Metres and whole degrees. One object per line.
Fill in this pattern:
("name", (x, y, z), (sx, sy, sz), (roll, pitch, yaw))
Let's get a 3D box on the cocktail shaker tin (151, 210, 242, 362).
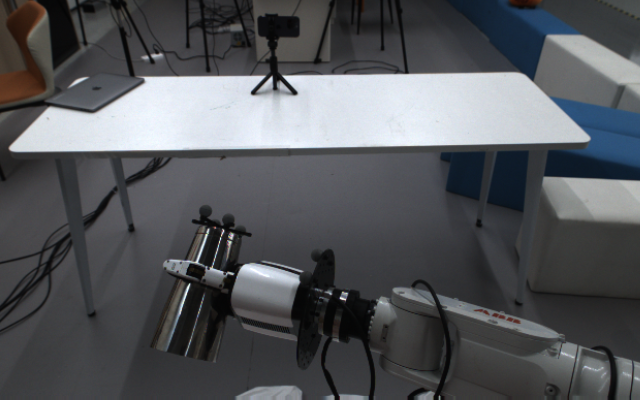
("cocktail shaker tin", (-0.162, 0.127, 0.667), (0.093, 0.093, 0.170), (10, 71, 11))
